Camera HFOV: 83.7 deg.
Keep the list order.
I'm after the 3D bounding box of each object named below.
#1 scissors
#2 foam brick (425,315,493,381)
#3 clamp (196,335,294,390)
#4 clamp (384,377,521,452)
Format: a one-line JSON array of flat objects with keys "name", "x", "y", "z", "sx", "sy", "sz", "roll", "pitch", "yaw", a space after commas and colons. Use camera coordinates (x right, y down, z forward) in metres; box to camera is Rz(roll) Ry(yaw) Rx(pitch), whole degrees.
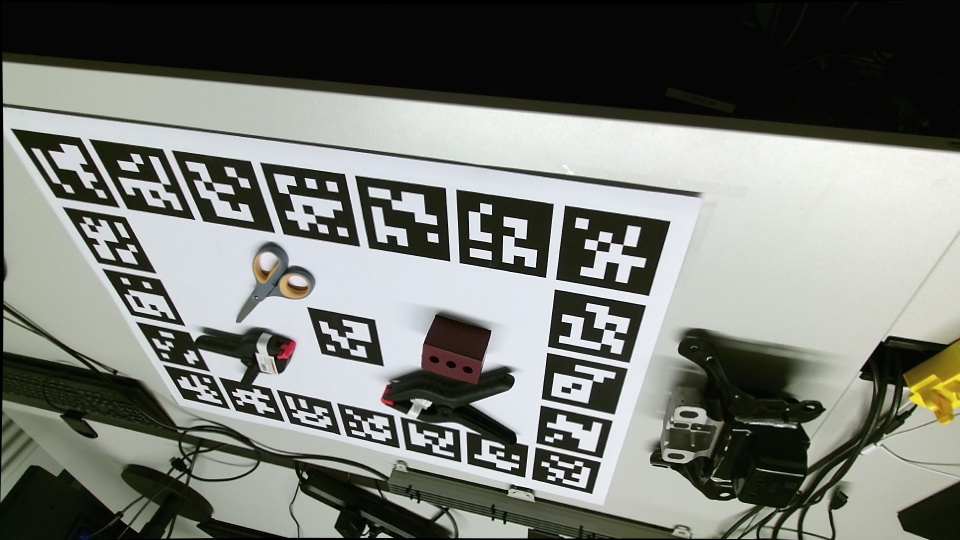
[{"name": "scissors", "x": -0.298, "y": 0.037, "z": 0.742, "sx": 0.088, "sy": 0.016, "sz": 0.203, "roll": 44, "pitch": 129, "yaw": -9}, {"name": "foam brick", "x": -0.027, "y": 0.100, "z": 0.692, "sx": 0.078, "sy": 0.051, "sz": 0.053, "roll": 12, "pitch": 129, "yaw": 2}, {"name": "clamp", "x": -0.359, "y": 0.142, "z": 0.844, "sx": 0.165, "sy": 0.036, "sz": 0.122, "roll": -15, "pitch": 115, "yaw": 27}, {"name": "clamp", "x": -0.043, "y": 0.200, "z": 0.785, "sx": 0.203, "sy": 0.036, "sz": 0.165, "roll": 6, "pitch": 133, "yaw": 14}]
